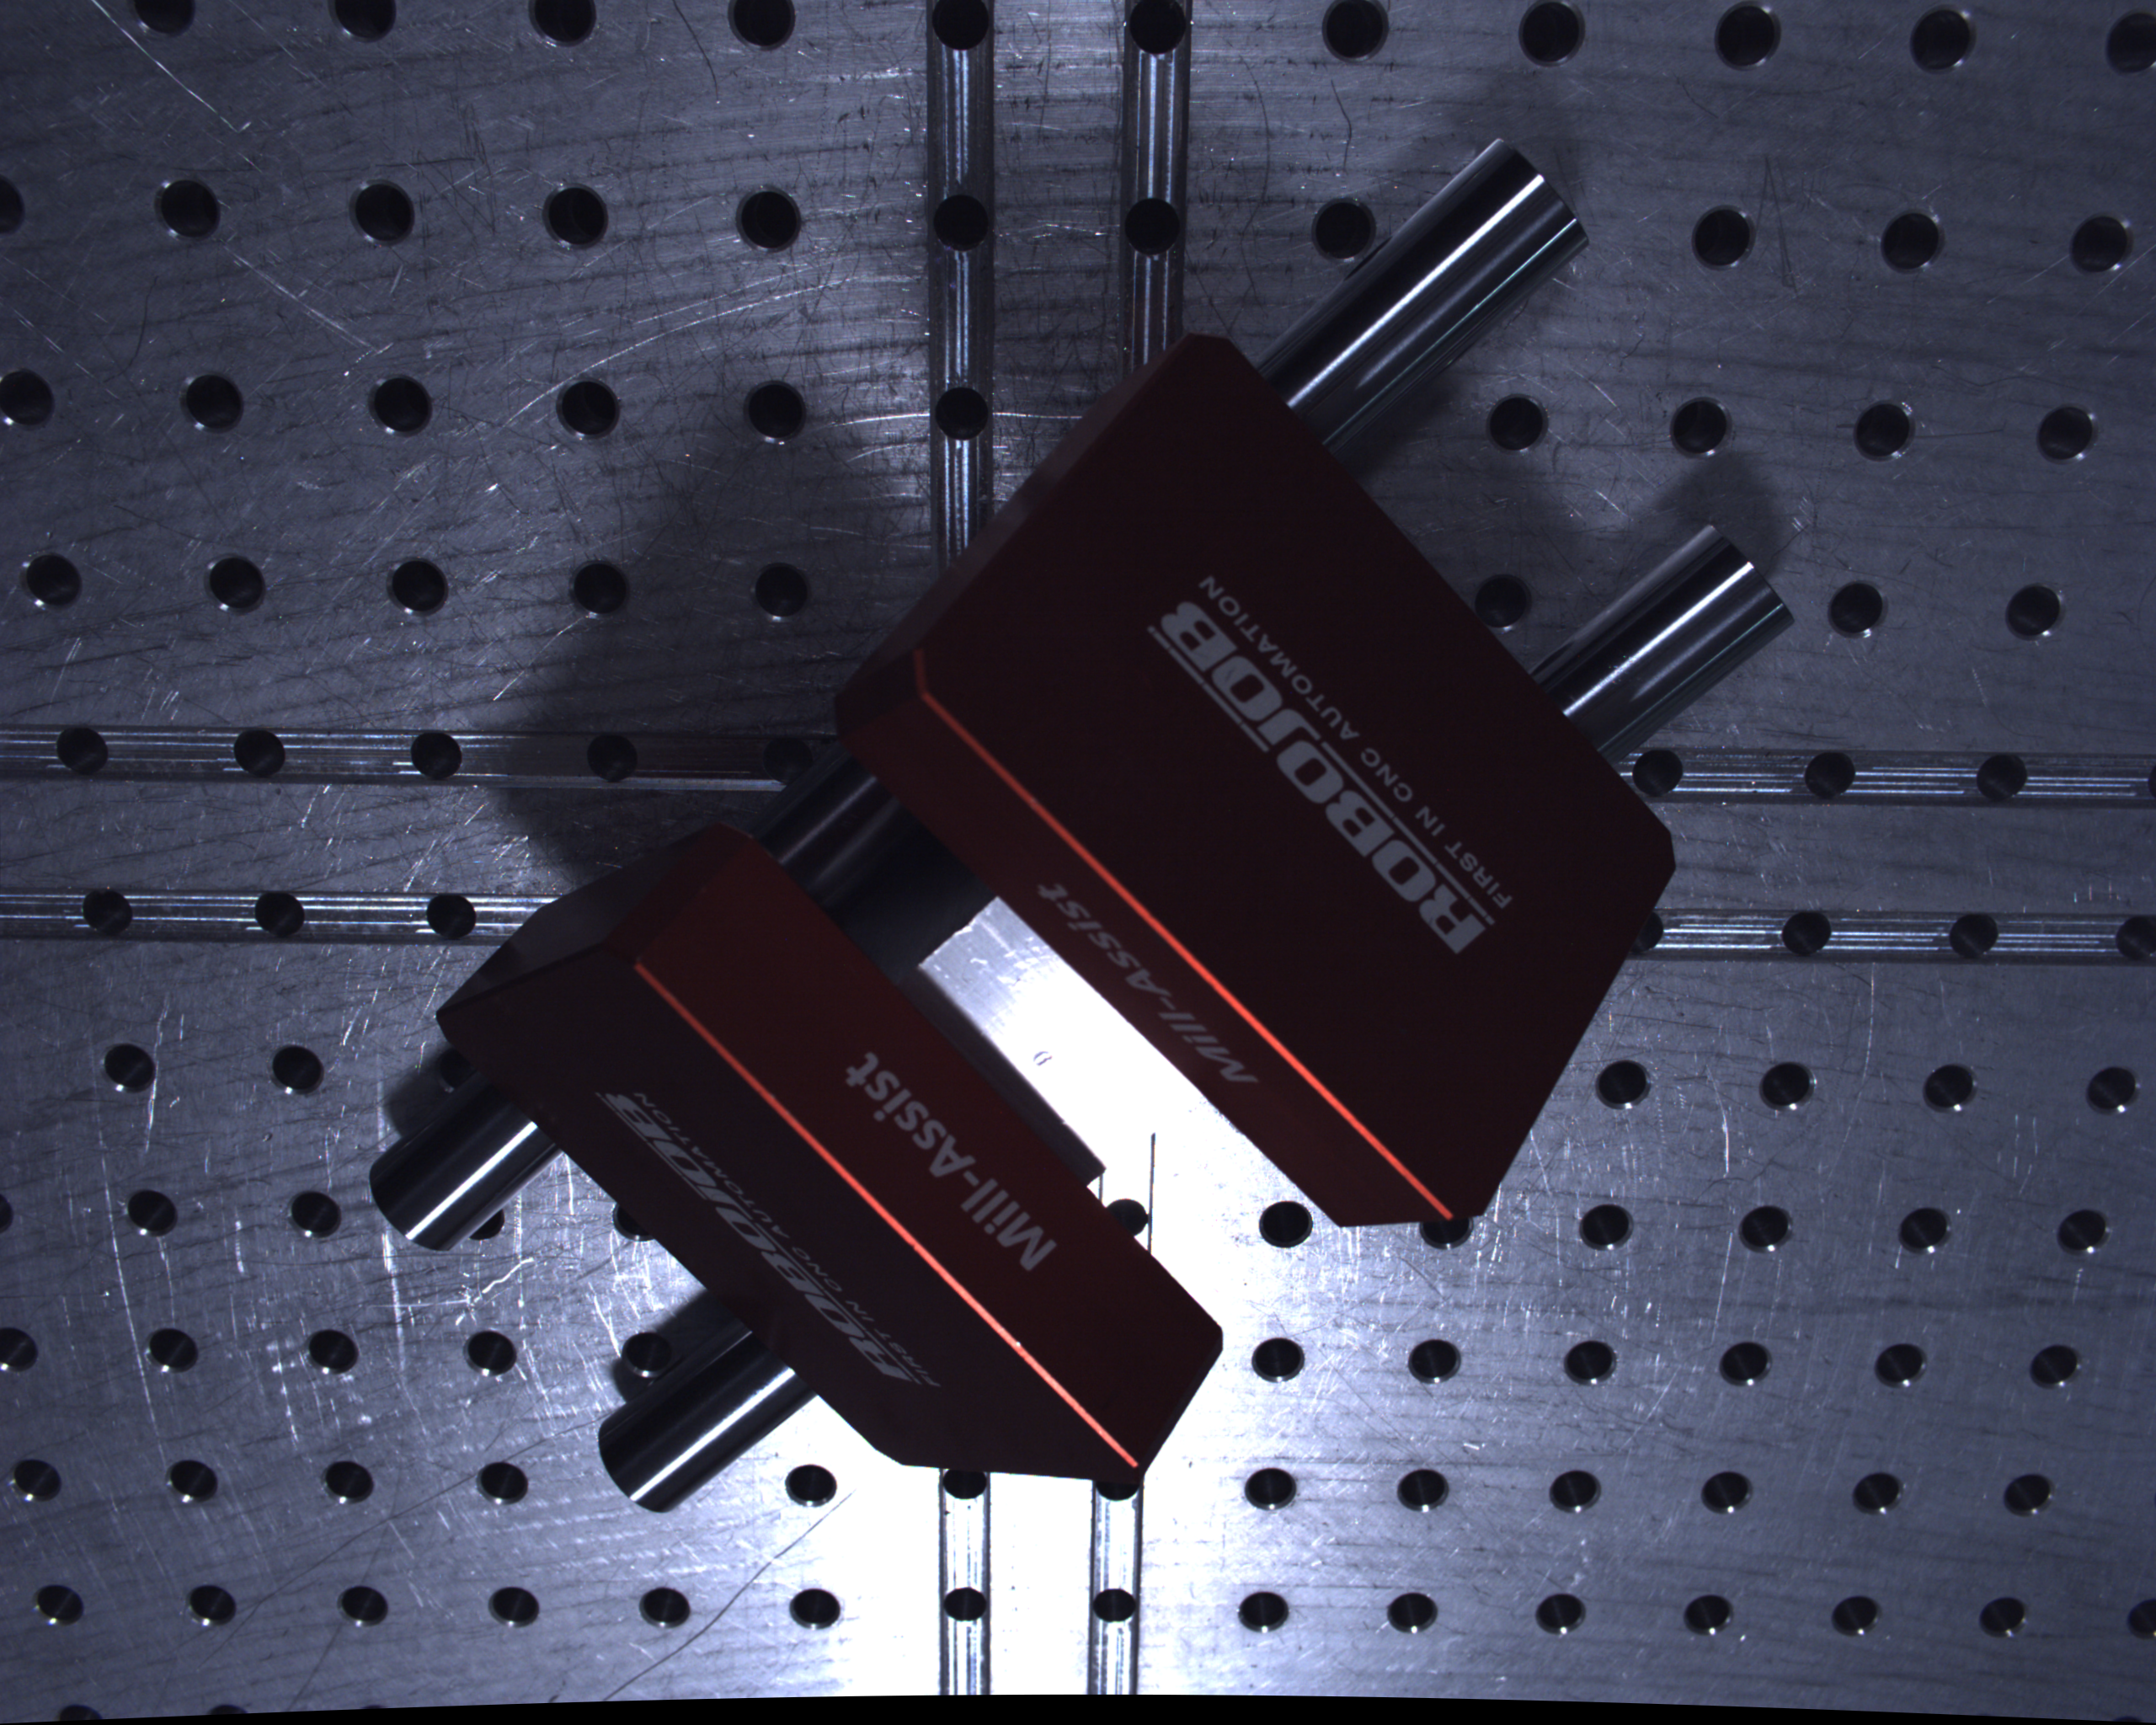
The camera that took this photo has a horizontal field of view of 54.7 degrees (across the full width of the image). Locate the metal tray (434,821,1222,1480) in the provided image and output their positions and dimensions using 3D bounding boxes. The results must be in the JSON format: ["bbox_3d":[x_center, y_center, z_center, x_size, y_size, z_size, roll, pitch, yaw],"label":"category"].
[{"bbox_3d":[-0.046,0.057,0.376,0.130,0.030,0.090,48,146,-16],"label":"metal tray"}]

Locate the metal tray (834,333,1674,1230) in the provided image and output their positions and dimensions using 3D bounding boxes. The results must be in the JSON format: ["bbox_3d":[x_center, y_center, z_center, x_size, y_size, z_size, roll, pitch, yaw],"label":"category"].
[{"bbox_3d":[0.035,-0.012,0.351,0.130,0.030,0.090,45,60,-15],"label":"metal tray"}]

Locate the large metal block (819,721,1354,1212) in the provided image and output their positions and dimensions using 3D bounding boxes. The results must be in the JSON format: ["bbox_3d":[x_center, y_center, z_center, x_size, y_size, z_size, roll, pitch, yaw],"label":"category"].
[{"bbox_3d":[0.001,0.011,0.388,0.080,0.080,0.050,-40,106,13],"label":"large metal block"}]

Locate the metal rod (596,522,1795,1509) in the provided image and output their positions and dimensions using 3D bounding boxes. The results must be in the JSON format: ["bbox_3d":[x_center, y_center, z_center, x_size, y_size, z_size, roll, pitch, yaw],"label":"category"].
[{"bbox_3d":[0.015,0.038,0.428,0.300,0.025,0.025,-40,106,13],"label":"metal rod"}]

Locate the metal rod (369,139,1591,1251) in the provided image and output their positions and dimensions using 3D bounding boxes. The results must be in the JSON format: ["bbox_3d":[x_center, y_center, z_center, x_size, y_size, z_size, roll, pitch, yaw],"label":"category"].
[{"bbox_3d":[-0.028,-0.024,0.404,0.300,0.025,0.025,-41,106,13],"label":"metal rod"}]
